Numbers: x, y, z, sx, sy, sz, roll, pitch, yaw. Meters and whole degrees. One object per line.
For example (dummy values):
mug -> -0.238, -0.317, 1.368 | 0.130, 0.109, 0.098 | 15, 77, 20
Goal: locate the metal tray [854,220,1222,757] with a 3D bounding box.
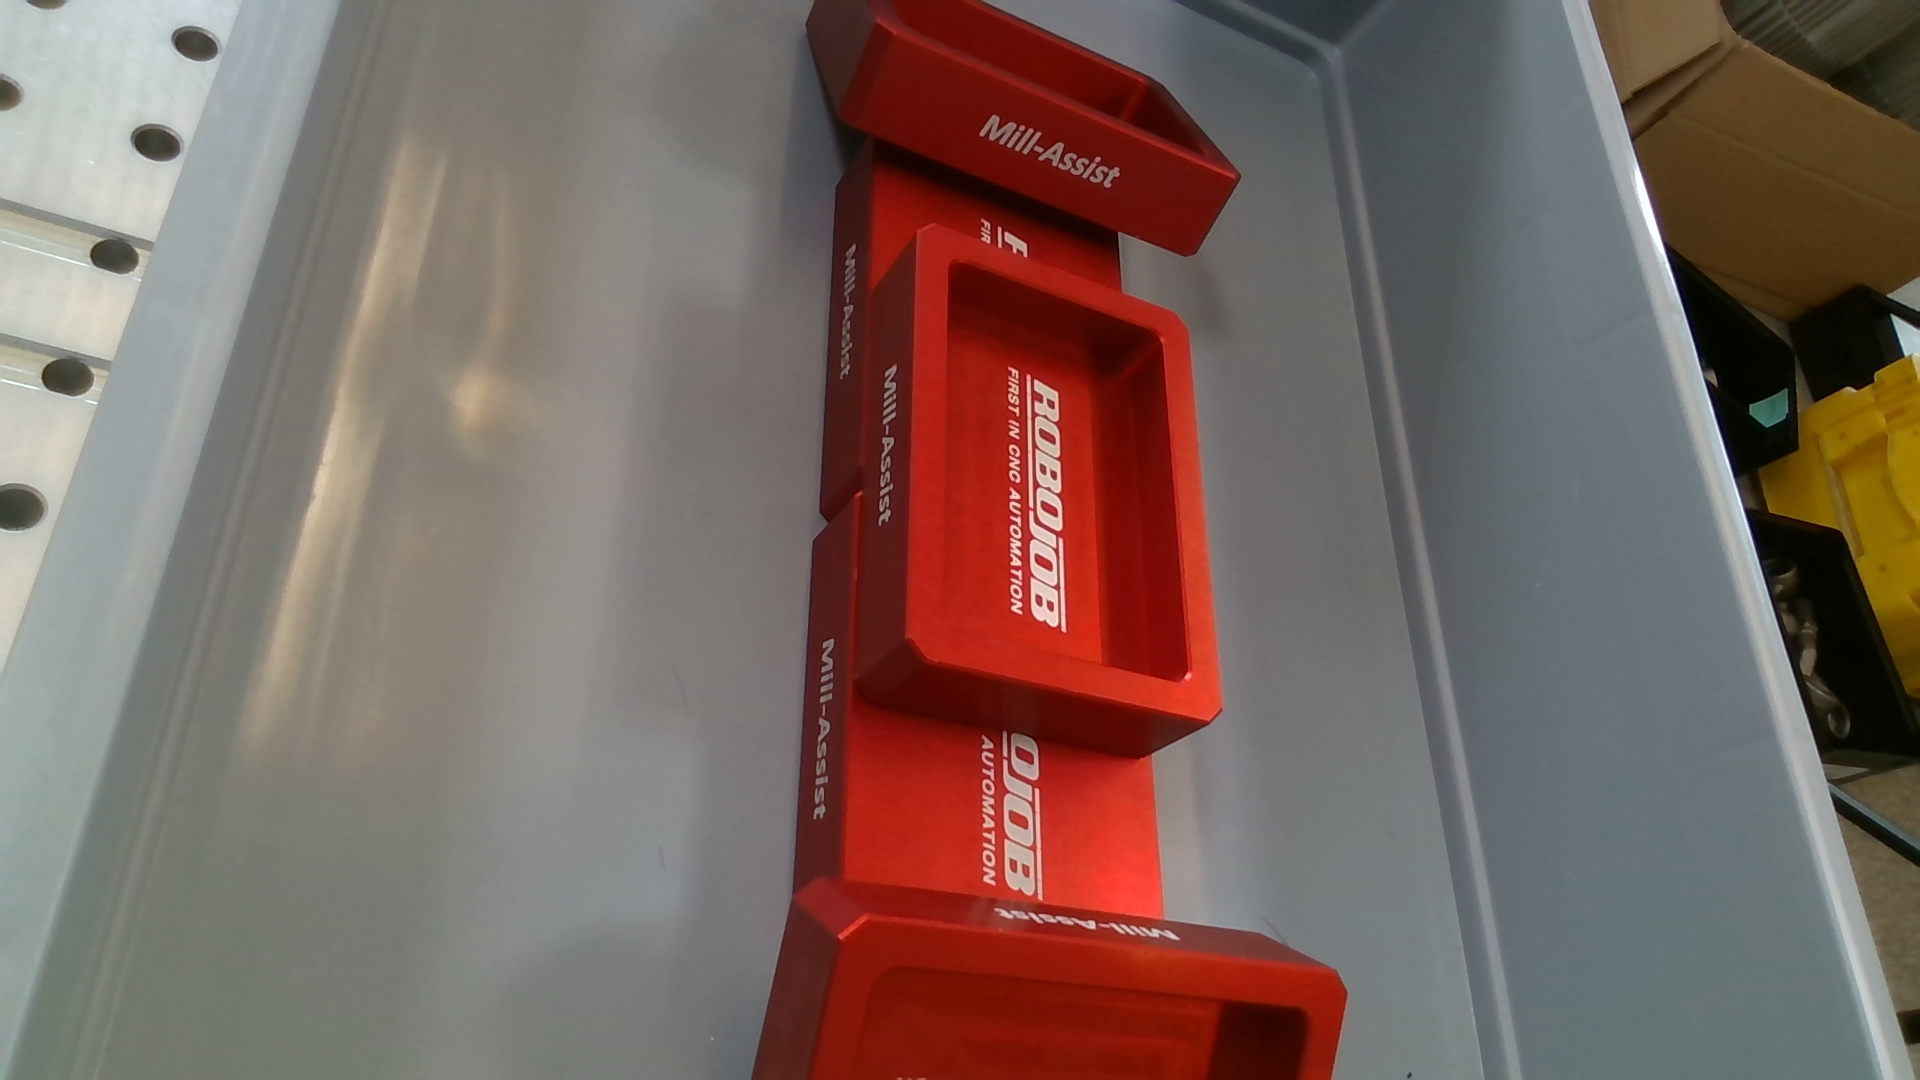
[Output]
metal tray -> 0.021, -0.015, 0.370 | 0.090, 0.030, 0.130 | 15, 58, -25

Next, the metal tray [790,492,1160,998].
metal tray -> 0.005, 0.056, 0.362 | 0.090, 0.030, 0.130 | 14, 59, -25

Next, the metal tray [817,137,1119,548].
metal tray -> 0.006, -0.058, 0.424 | 0.090, 0.030, 0.130 | 14, 59, -25

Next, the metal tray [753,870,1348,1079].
metal tray -> 0.019, 0.129, 0.306 | 0.130, 0.030, 0.090 | 14, 87, -25

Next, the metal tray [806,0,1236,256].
metal tray -> 0.019, -0.146, 0.455 | 0.130, 0.030, 0.090 | 15, 33, -25
